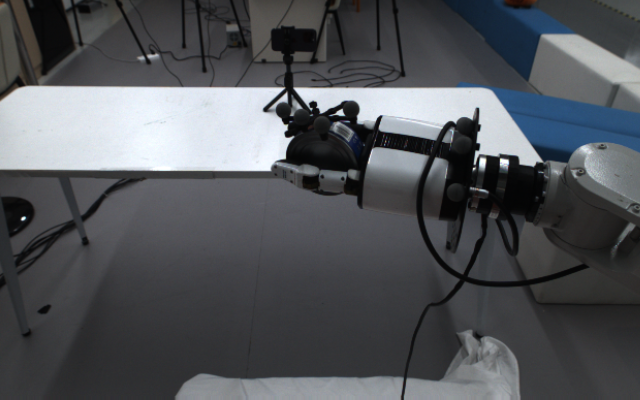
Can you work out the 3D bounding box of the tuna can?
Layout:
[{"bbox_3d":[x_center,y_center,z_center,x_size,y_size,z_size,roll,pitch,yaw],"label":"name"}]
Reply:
[{"bbox_3d":[0.009,-0.050,0.552,0.085,0.085,0.034,14,41,16],"label":"tuna can"}]
